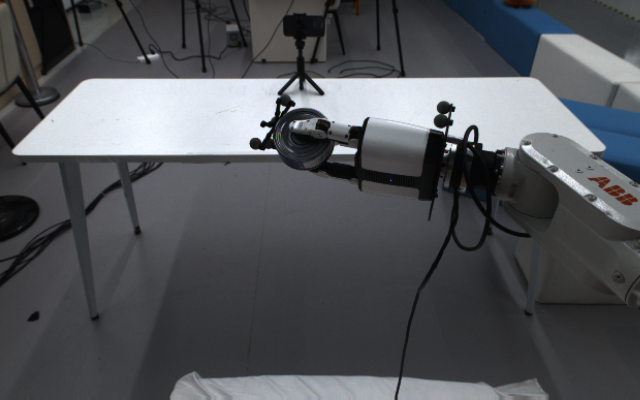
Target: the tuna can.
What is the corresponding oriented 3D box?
[{"bbox_3d":[-0.020,-0.085,0.689,0.085,0.034,0.085,-2,72,6],"label":"tuna can"}]
